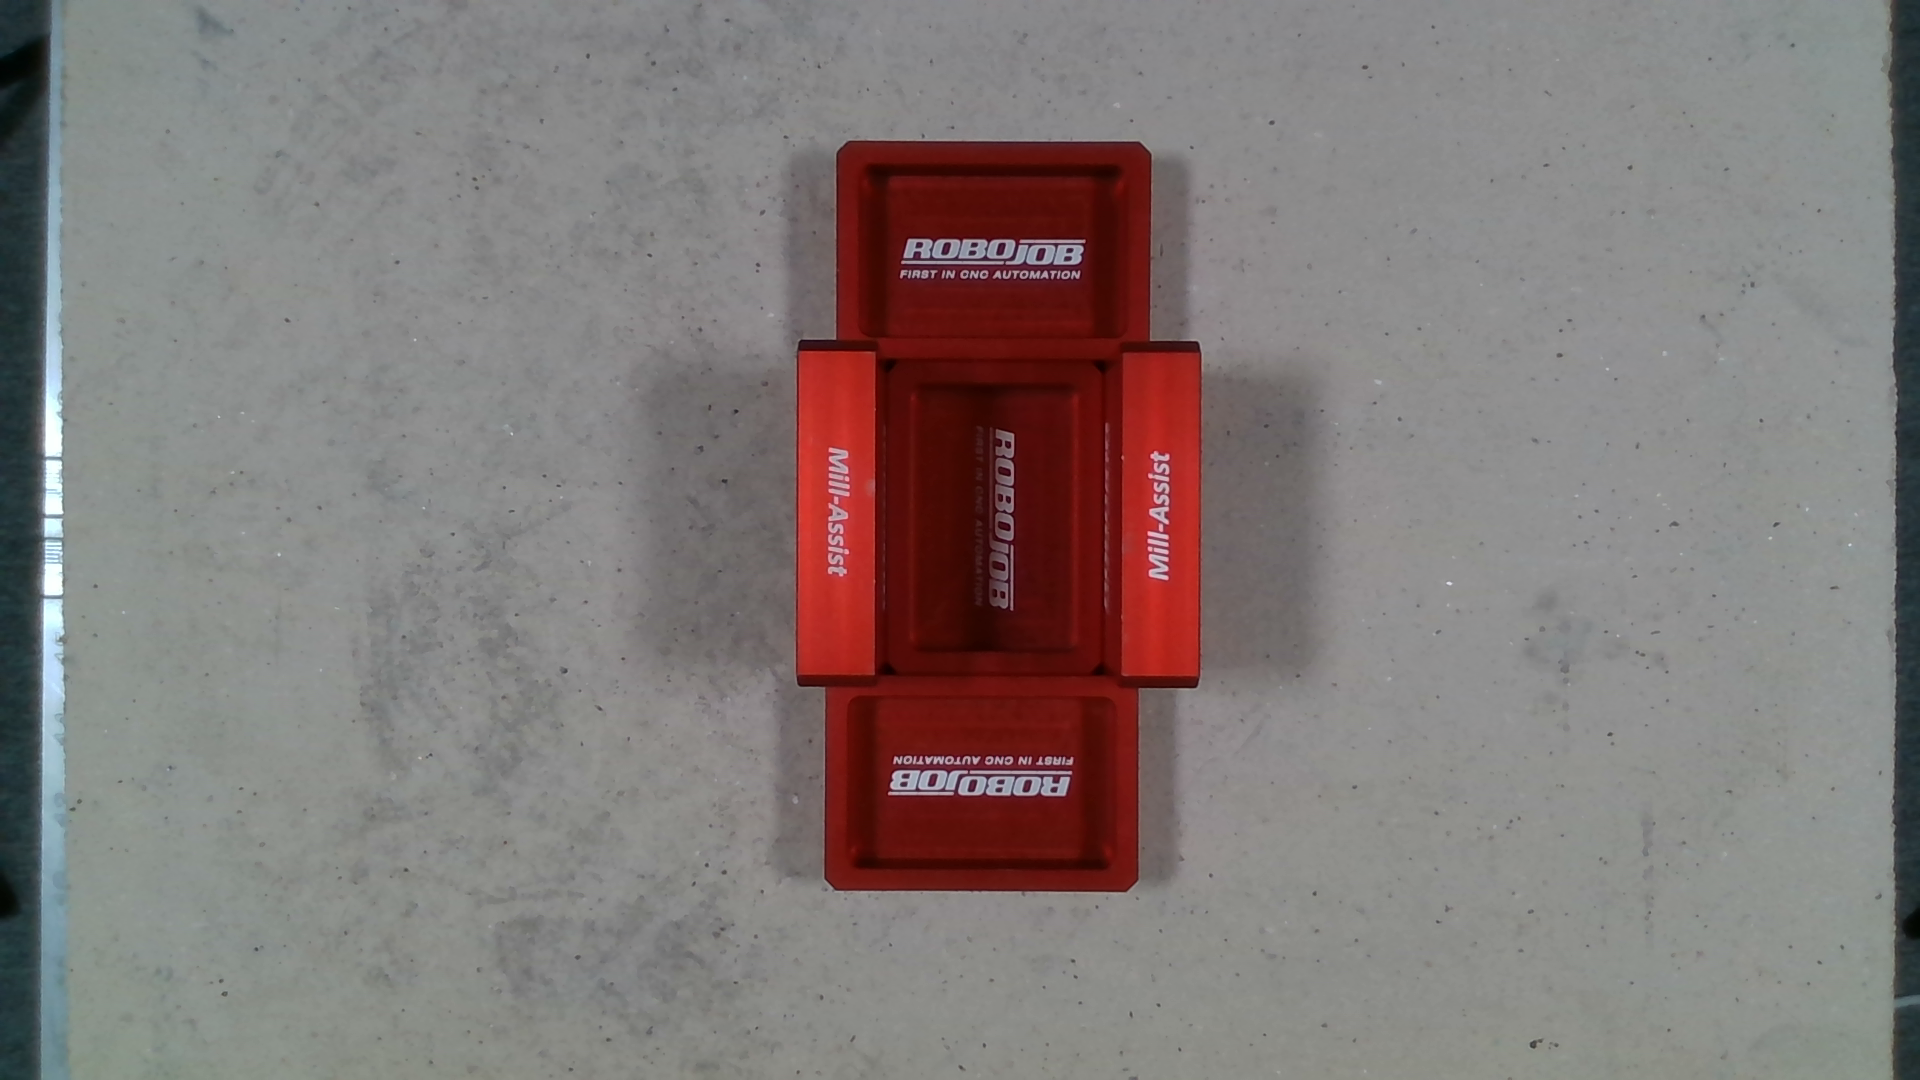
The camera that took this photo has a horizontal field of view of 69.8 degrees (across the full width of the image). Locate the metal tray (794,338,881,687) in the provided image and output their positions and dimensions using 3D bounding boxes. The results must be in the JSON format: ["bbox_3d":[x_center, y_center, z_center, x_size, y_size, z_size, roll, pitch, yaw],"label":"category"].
[{"bbox_3d":[-0.046,-0.010,0.553,0.030,0.090,0.130,0,90,0],"label":"metal tray"}]

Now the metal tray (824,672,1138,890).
[{"bbox_3d":[0.009,0.100,0.585,0.130,0.030,0.090,0,90,0],"label":"metal tray"}]

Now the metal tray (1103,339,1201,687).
[{"bbox_3d":[0.074,-0.010,0.555,0.030,0.090,0.130,0,90,0],"label":"metal tray"}]

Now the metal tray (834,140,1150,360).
[{"bbox_3d":[0.013,-0.120,0.583,0.130,0.030,0.090,0,90,0],"label":"metal tray"}]

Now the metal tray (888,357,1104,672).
[{"bbox_3d":[0.014,-0.011,0.584,0.090,0.030,0.130,1,91,0],"label":"metal tray"}]
